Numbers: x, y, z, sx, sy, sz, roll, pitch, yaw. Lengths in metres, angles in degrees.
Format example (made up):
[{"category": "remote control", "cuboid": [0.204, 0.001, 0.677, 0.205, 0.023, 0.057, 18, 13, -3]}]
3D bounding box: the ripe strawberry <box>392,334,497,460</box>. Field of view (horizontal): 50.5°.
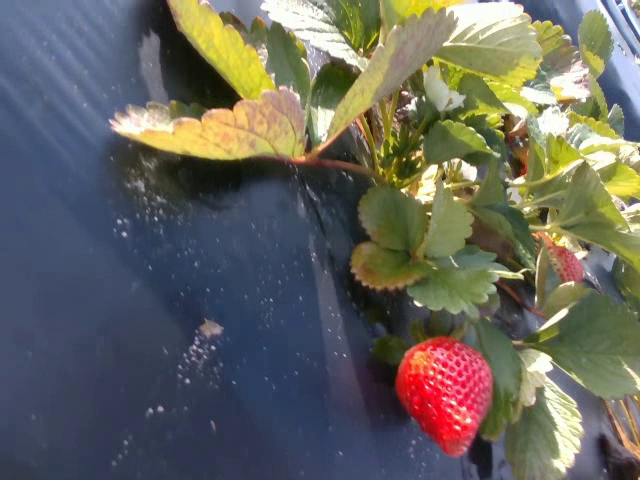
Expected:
[{"category": "ripe strawberry", "cuboid": [0.043, 0.053, 0.214, 0.041, 0.041, 0.047, 24, 24, -12]}]
